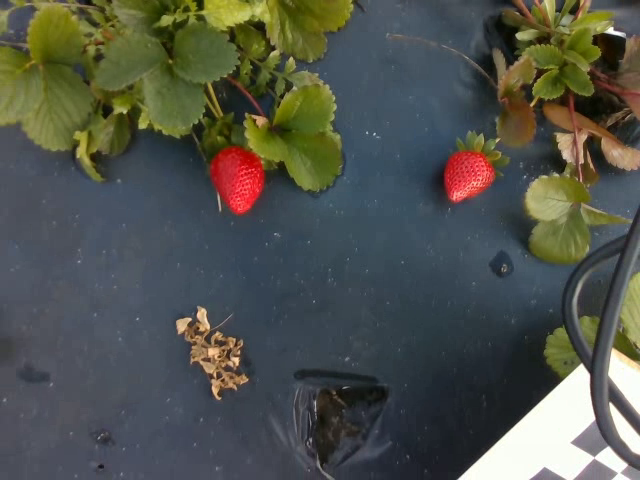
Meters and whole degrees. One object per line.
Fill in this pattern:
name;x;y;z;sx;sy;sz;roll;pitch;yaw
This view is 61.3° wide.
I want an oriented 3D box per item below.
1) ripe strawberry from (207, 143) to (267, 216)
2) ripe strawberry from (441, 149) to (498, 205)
ripe strawberry;-0.057;-0.035;0.359;0.050;0.050;0.046;29;-49;-24
ripe strawberry;0.099;-0.040;0.374;0.041;0.052;0.045;3;-41;47
